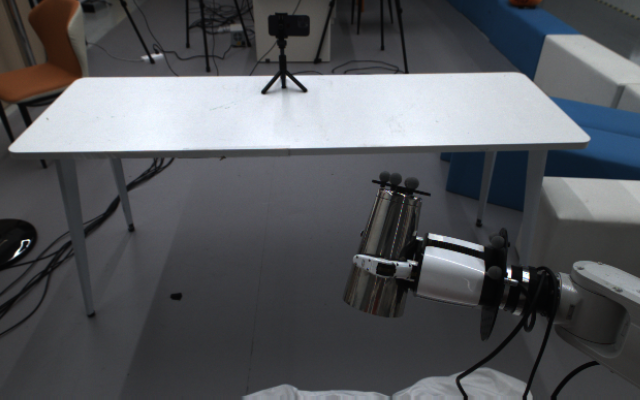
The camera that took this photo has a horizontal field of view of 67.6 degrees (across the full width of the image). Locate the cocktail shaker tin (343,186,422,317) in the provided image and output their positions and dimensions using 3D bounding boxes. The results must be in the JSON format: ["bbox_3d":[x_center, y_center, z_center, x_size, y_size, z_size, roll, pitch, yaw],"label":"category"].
[{"bbox_3d":[0.098,0.073,0.707,0.093,0.170,0.093,13,4,-1],"label":"cocktail shaker tin"}]
